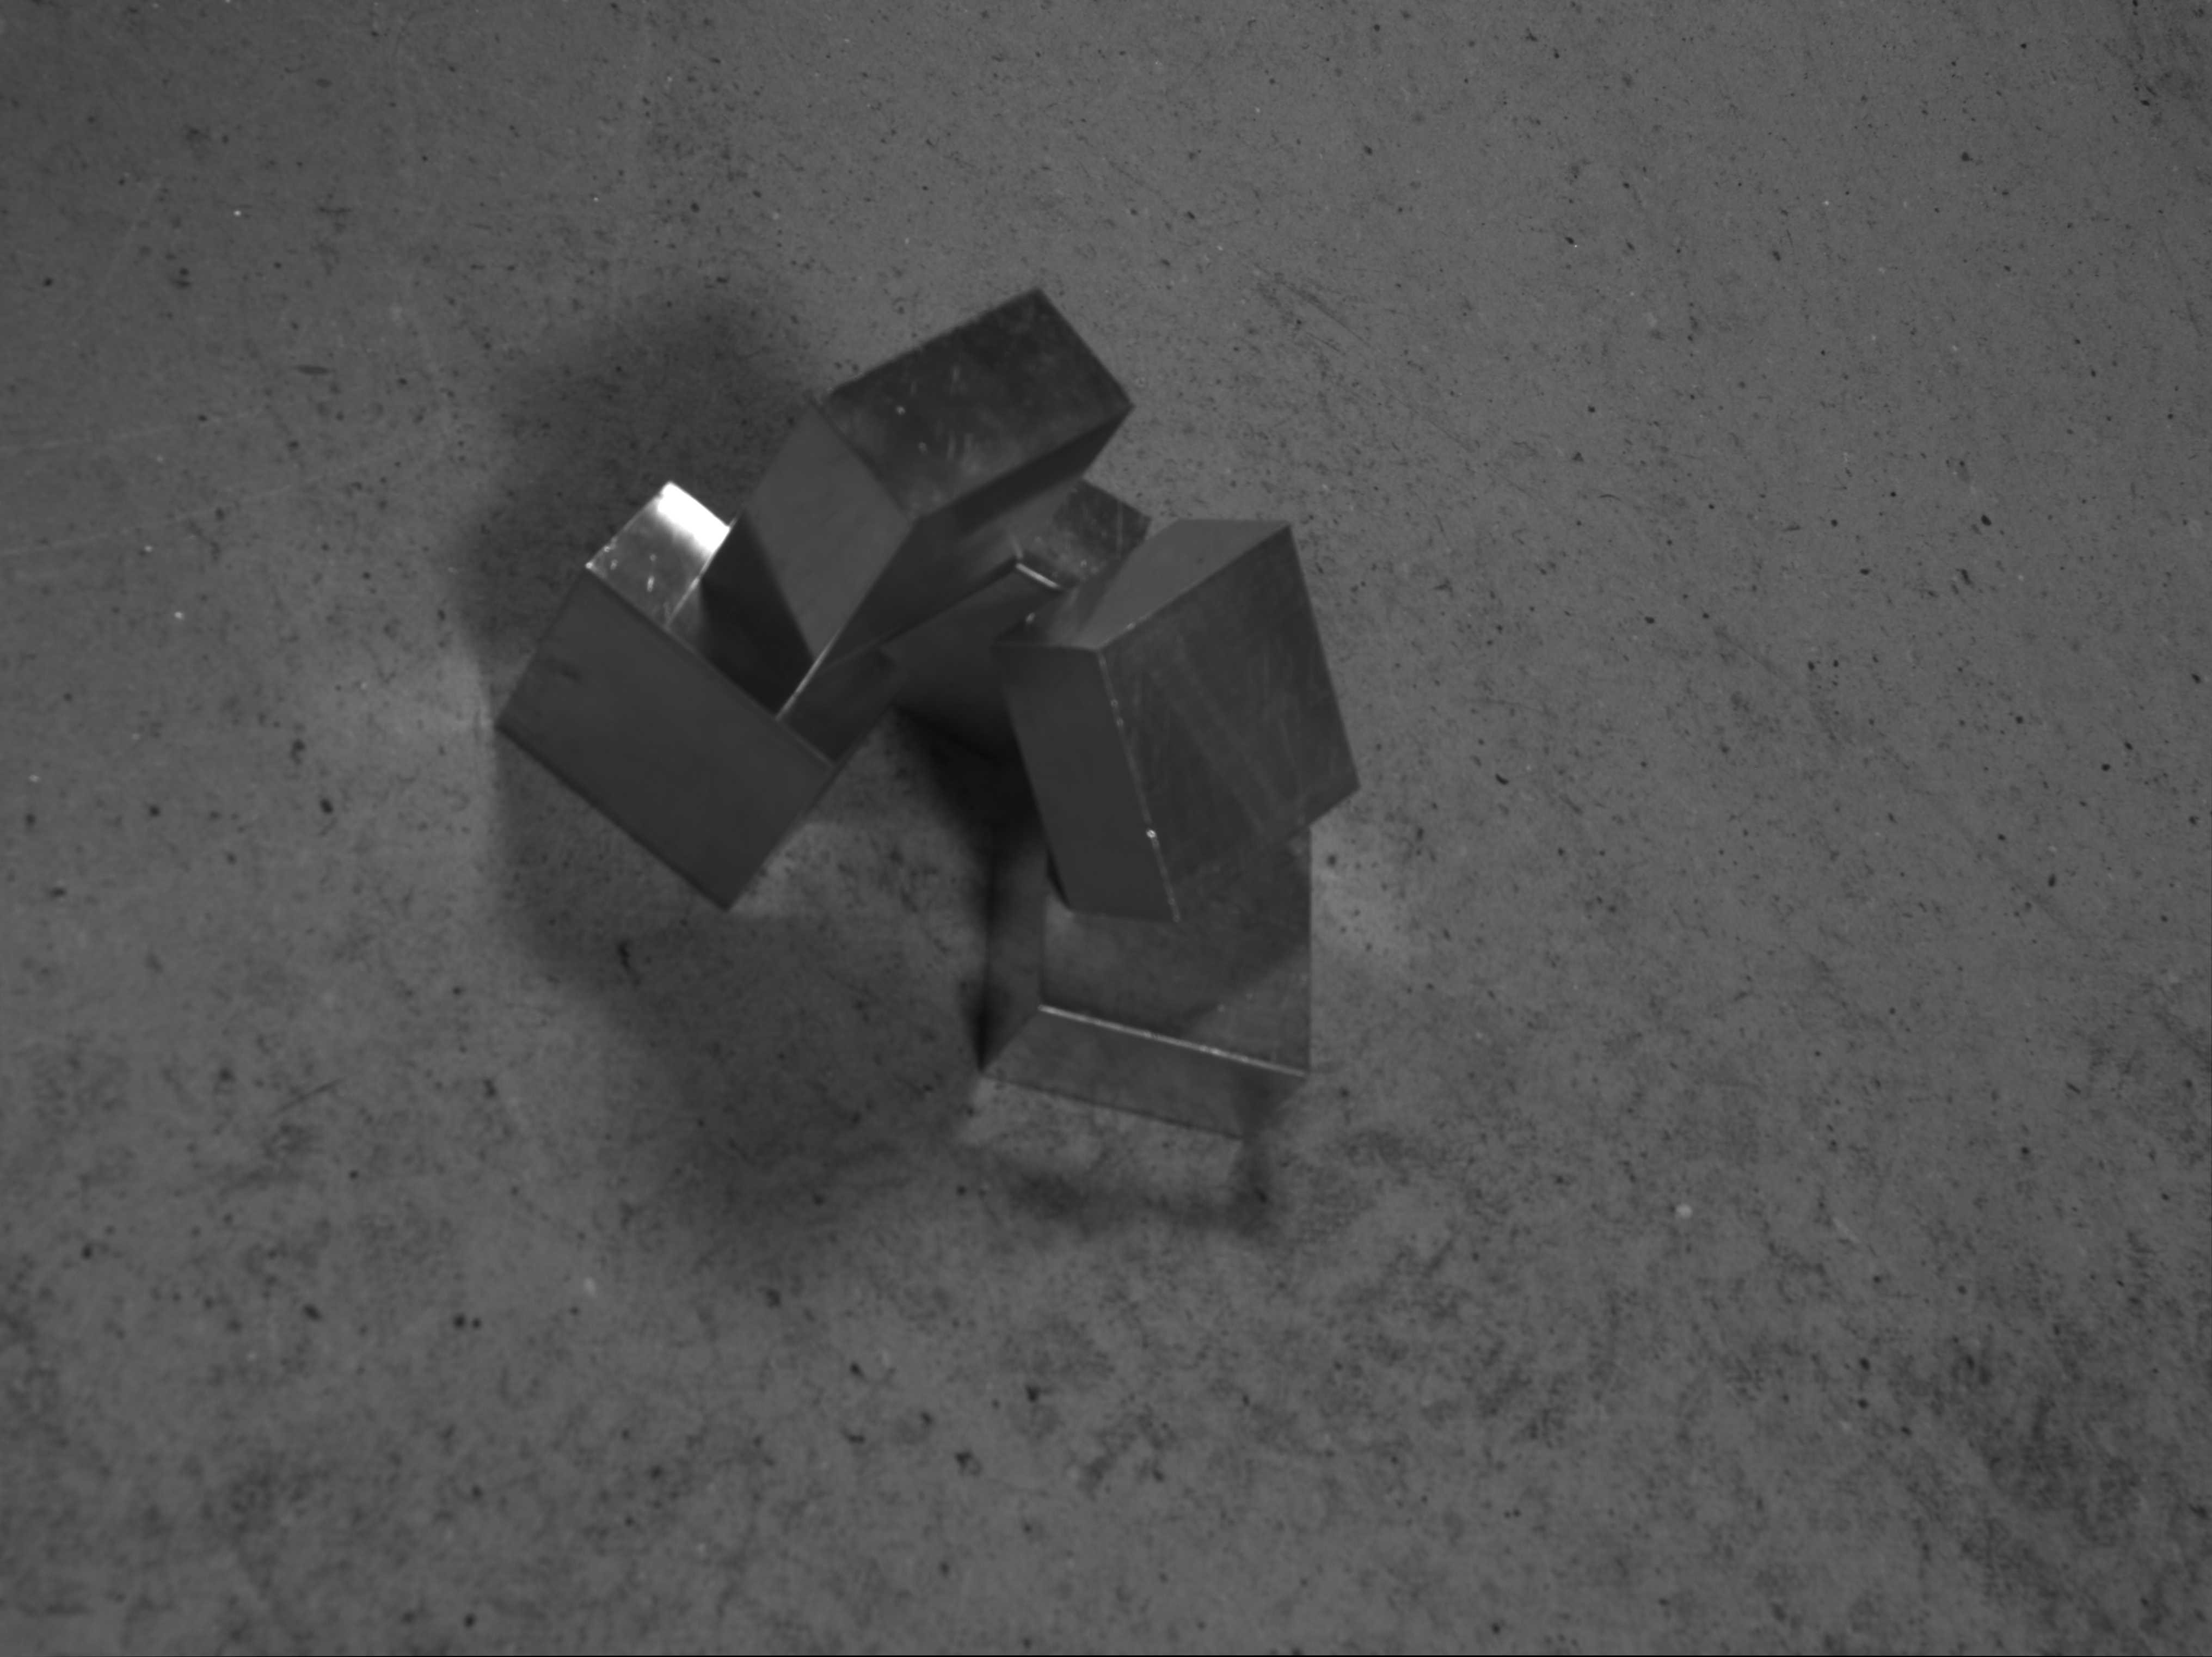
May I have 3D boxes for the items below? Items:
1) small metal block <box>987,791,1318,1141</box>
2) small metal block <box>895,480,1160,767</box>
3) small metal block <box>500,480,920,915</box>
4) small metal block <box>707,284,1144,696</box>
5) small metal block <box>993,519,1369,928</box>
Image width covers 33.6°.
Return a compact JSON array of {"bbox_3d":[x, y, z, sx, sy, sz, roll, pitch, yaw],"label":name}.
[{"bbox_3d":[0.009,0.021,0.632,0.050,0.025,0.050,15,55,-20],"label":"small metal block"},{"bbox_3d":[-0.026,-0.044,0.637,0.050,0.050,0.025,29,52,-10],"label":"small metal block"},{"bbox_3d":[-0.066,-0.021,0.602,0.050,0.050,0.025,39,51,-2],"label":"small metal block"},{"bbox_3d":[-0.029,-0.053,0.577,0.050,0.050,0.025,-33,80,-38],"label":"small metal block"},{"bbox_3d":[0.013,-0.018,0.611,0.050,0.025,0.050,-35,119,-38],"label":"small metal block"}]
